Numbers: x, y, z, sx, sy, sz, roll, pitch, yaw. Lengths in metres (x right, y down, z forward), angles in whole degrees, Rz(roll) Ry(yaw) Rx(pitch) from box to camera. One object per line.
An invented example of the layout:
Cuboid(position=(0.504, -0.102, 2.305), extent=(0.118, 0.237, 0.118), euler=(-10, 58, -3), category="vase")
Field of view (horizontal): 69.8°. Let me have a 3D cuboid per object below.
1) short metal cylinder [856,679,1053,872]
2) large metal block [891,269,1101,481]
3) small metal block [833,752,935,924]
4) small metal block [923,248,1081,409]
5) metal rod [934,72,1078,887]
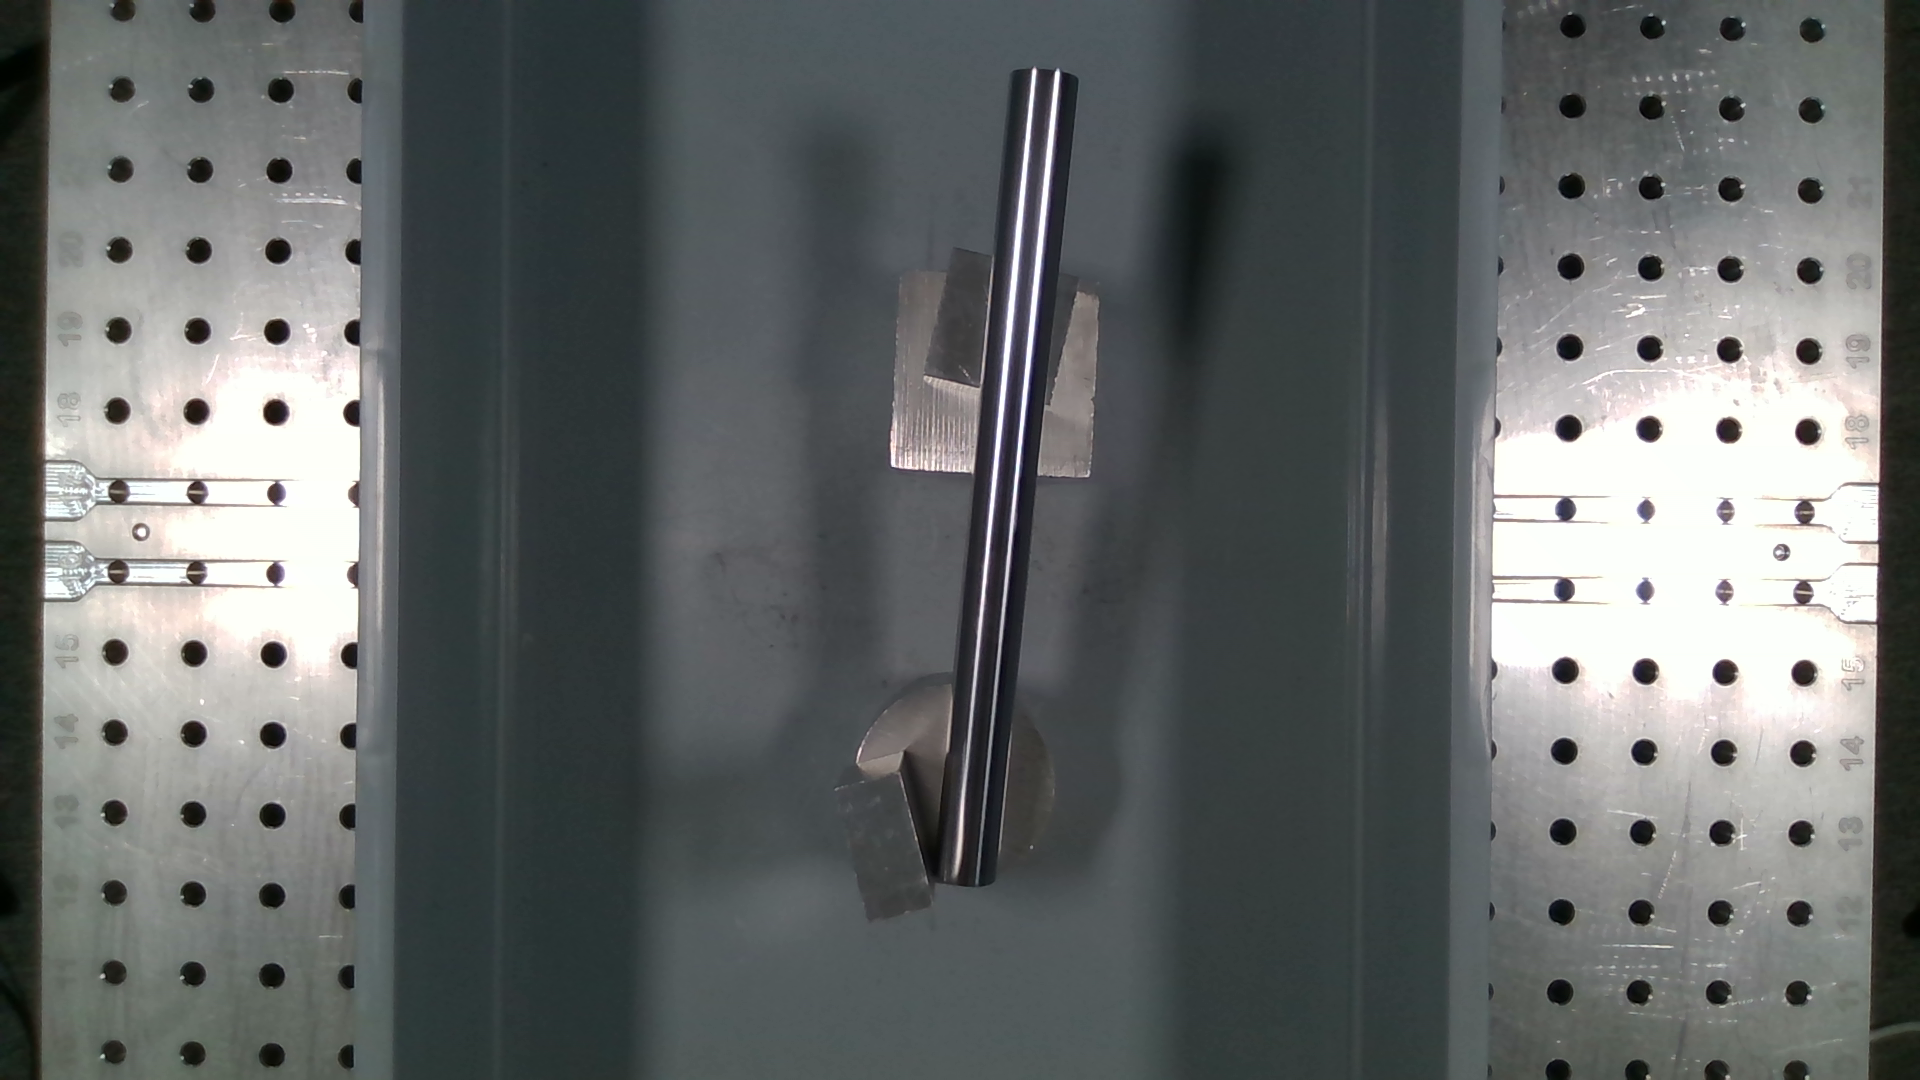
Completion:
Cuboid(position=(-0.003, 0.097, 0.574), extent=(0.080, 0.050, 0.080), euler=(0, 90, 0), category="short metal cylinder")
Cuboid(position=(0.014, -0.066, 0.571), extent=(0.080, 0.050, 0.080), euler=(3, 90, 0), category="large metal block")
Cuboid(position=(-0.028, 0.112, 0.523), extent=(0.025, 0.050, 0.050), euler=(-15, 90, 0), category="small metal block")
Cuboid(position=(0.016, -0.081, 0.535), extent=(0.050, 0.025, 0.050), euler=(13, 90, -1), category="small metal block")
Cuboid(position=(0.016, -0.017, 0.515), extent=(0.025, 0.025, 0.300), euler=(6, 98, 0), category="metal rod")
